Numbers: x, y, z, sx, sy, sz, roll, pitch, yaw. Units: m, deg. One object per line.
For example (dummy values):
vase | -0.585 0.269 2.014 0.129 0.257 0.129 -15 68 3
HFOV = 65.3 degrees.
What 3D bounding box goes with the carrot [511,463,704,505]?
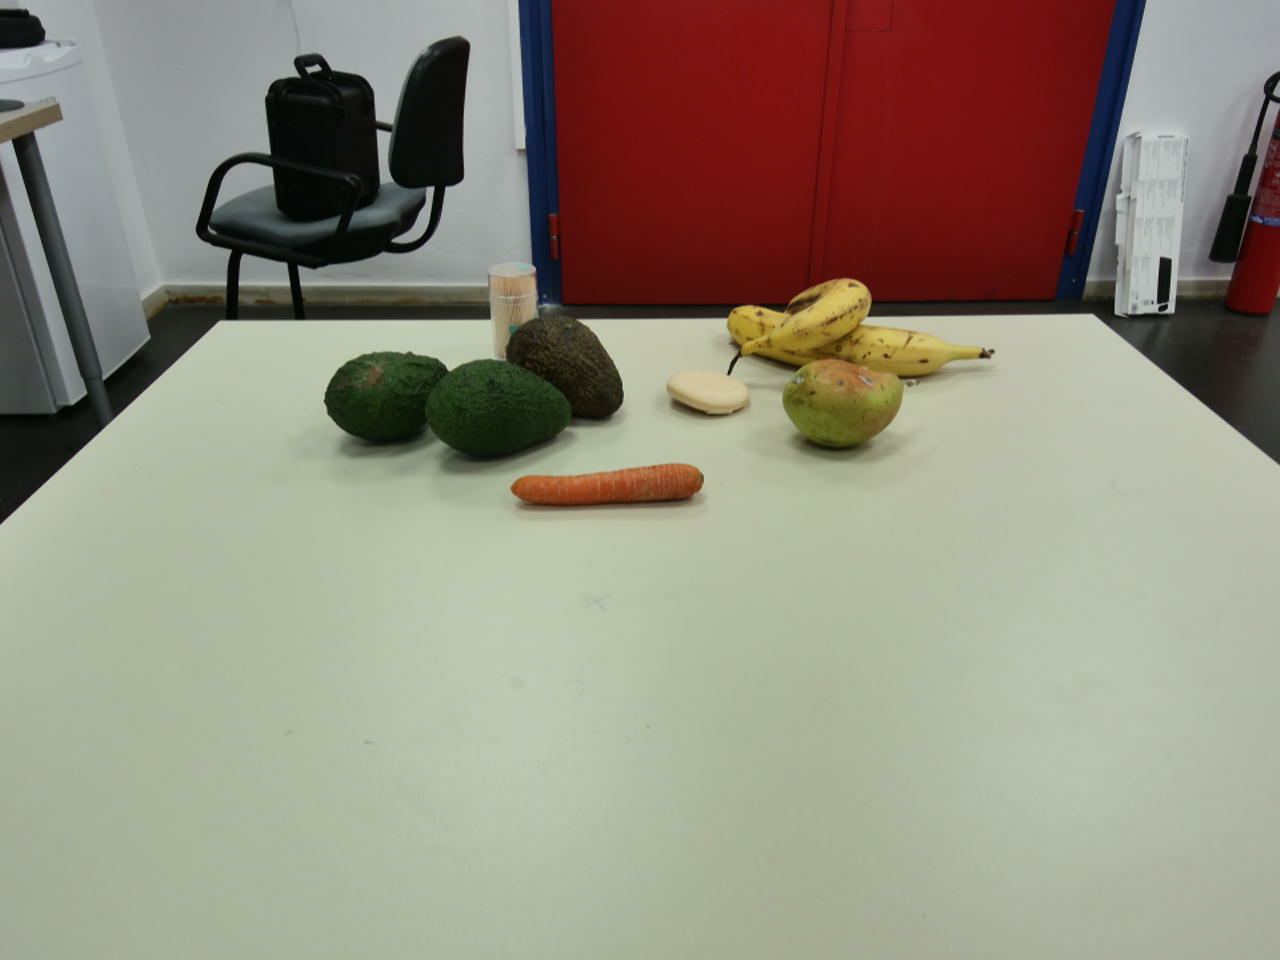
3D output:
carrot | -0.021 0.003 0.632 0.122 0.023 0.024 -2 27 -3
